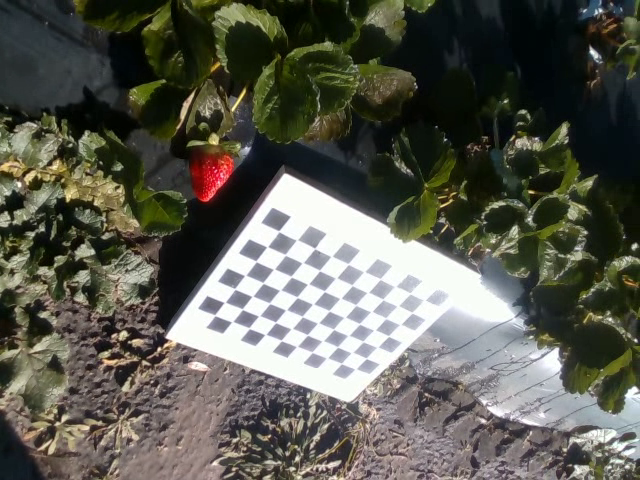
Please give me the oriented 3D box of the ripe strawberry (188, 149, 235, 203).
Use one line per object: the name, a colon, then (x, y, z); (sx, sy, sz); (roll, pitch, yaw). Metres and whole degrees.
ripe strawberry: (-0.112, -0.067, 0.614); (0.048, 0.069, 0.040); (10, 28, -15)
